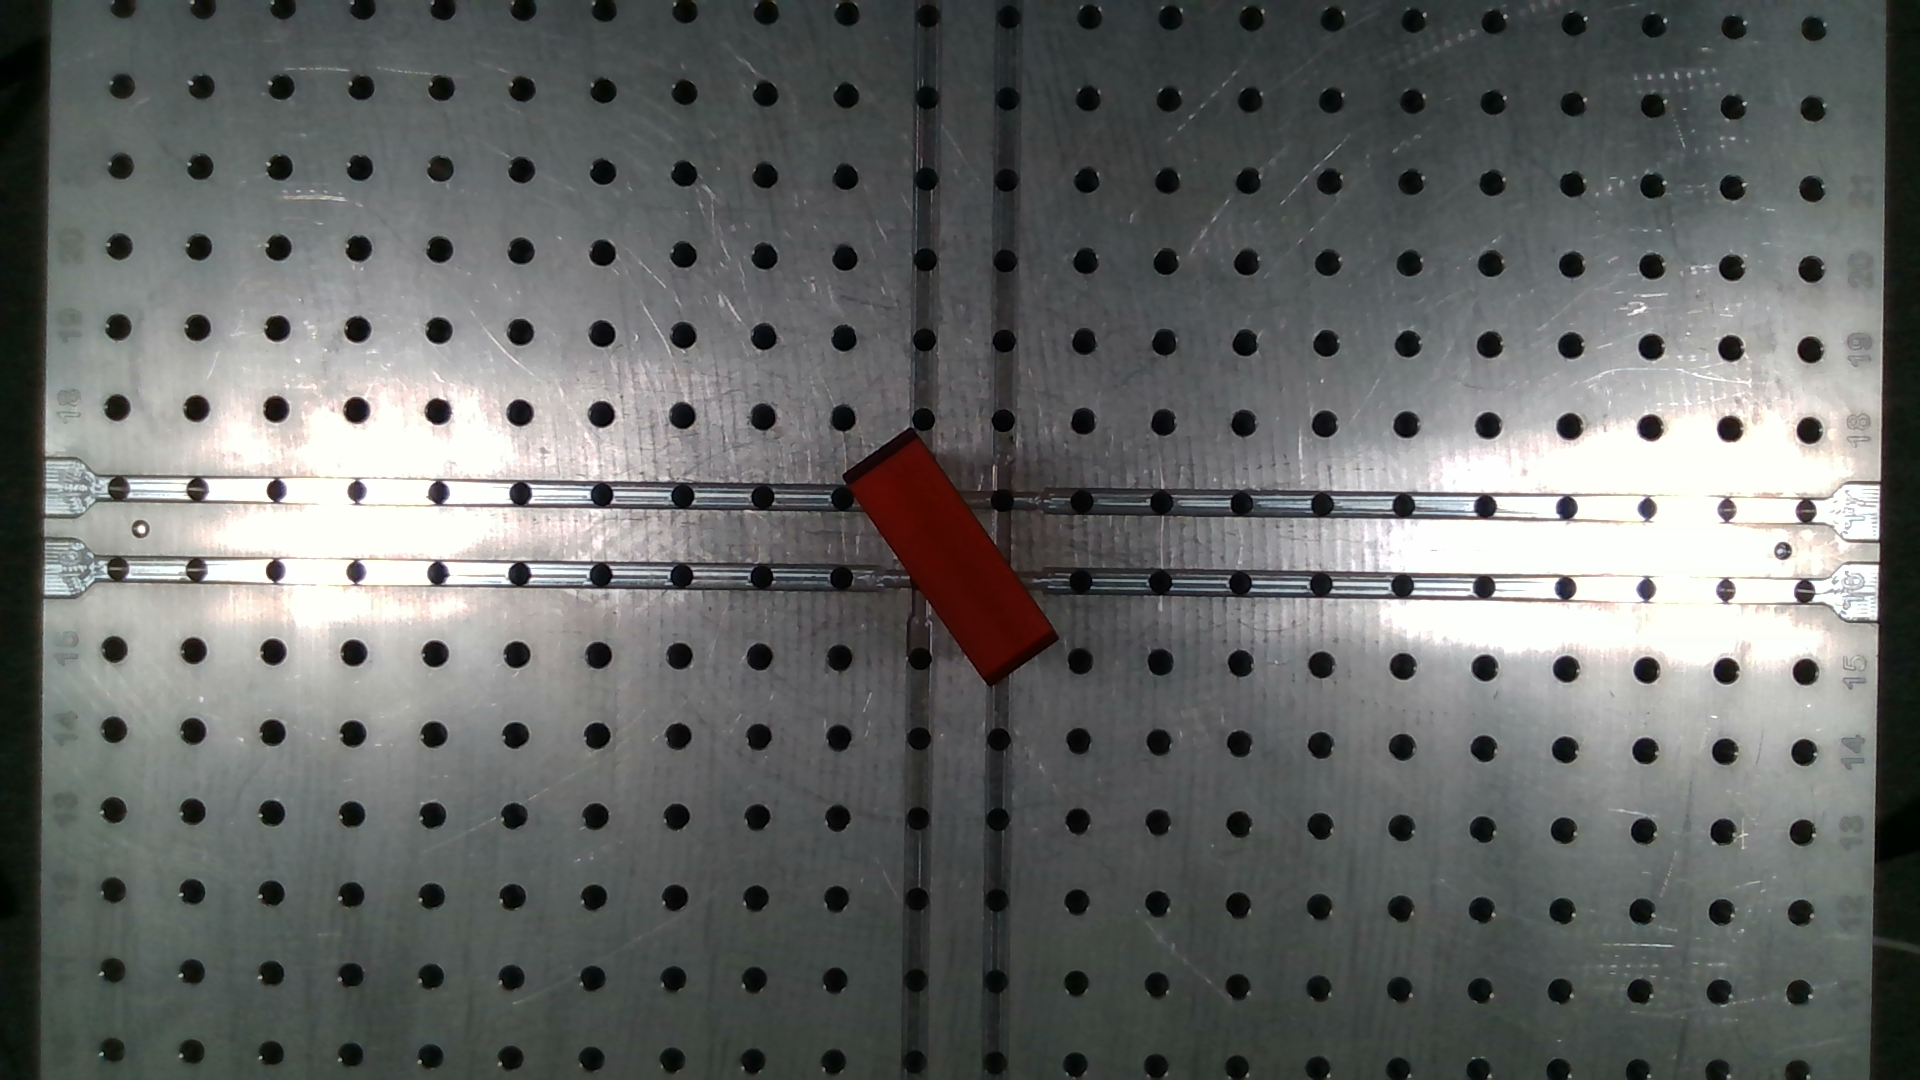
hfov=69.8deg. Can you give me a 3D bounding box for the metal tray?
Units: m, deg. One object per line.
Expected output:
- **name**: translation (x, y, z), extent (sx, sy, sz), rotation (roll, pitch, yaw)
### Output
- **metal tray**: translation (-0.003, 0.006, 0.537), extent (0.030, 0.130, 0.090), rotation (-35, 90, 0)
